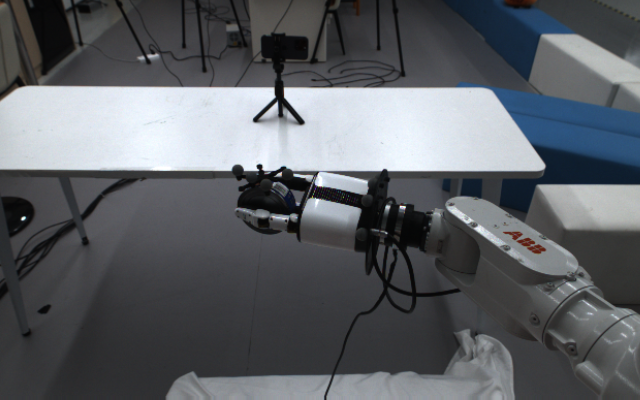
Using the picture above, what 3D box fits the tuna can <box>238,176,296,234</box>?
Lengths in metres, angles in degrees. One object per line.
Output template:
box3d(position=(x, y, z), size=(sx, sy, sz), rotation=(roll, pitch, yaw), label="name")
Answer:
box3d(position=(-0.081, 0.009, 0.744), size=(0.085, 0.085, 0.034), rotation=(11, 33, 12), label="tuna can")
